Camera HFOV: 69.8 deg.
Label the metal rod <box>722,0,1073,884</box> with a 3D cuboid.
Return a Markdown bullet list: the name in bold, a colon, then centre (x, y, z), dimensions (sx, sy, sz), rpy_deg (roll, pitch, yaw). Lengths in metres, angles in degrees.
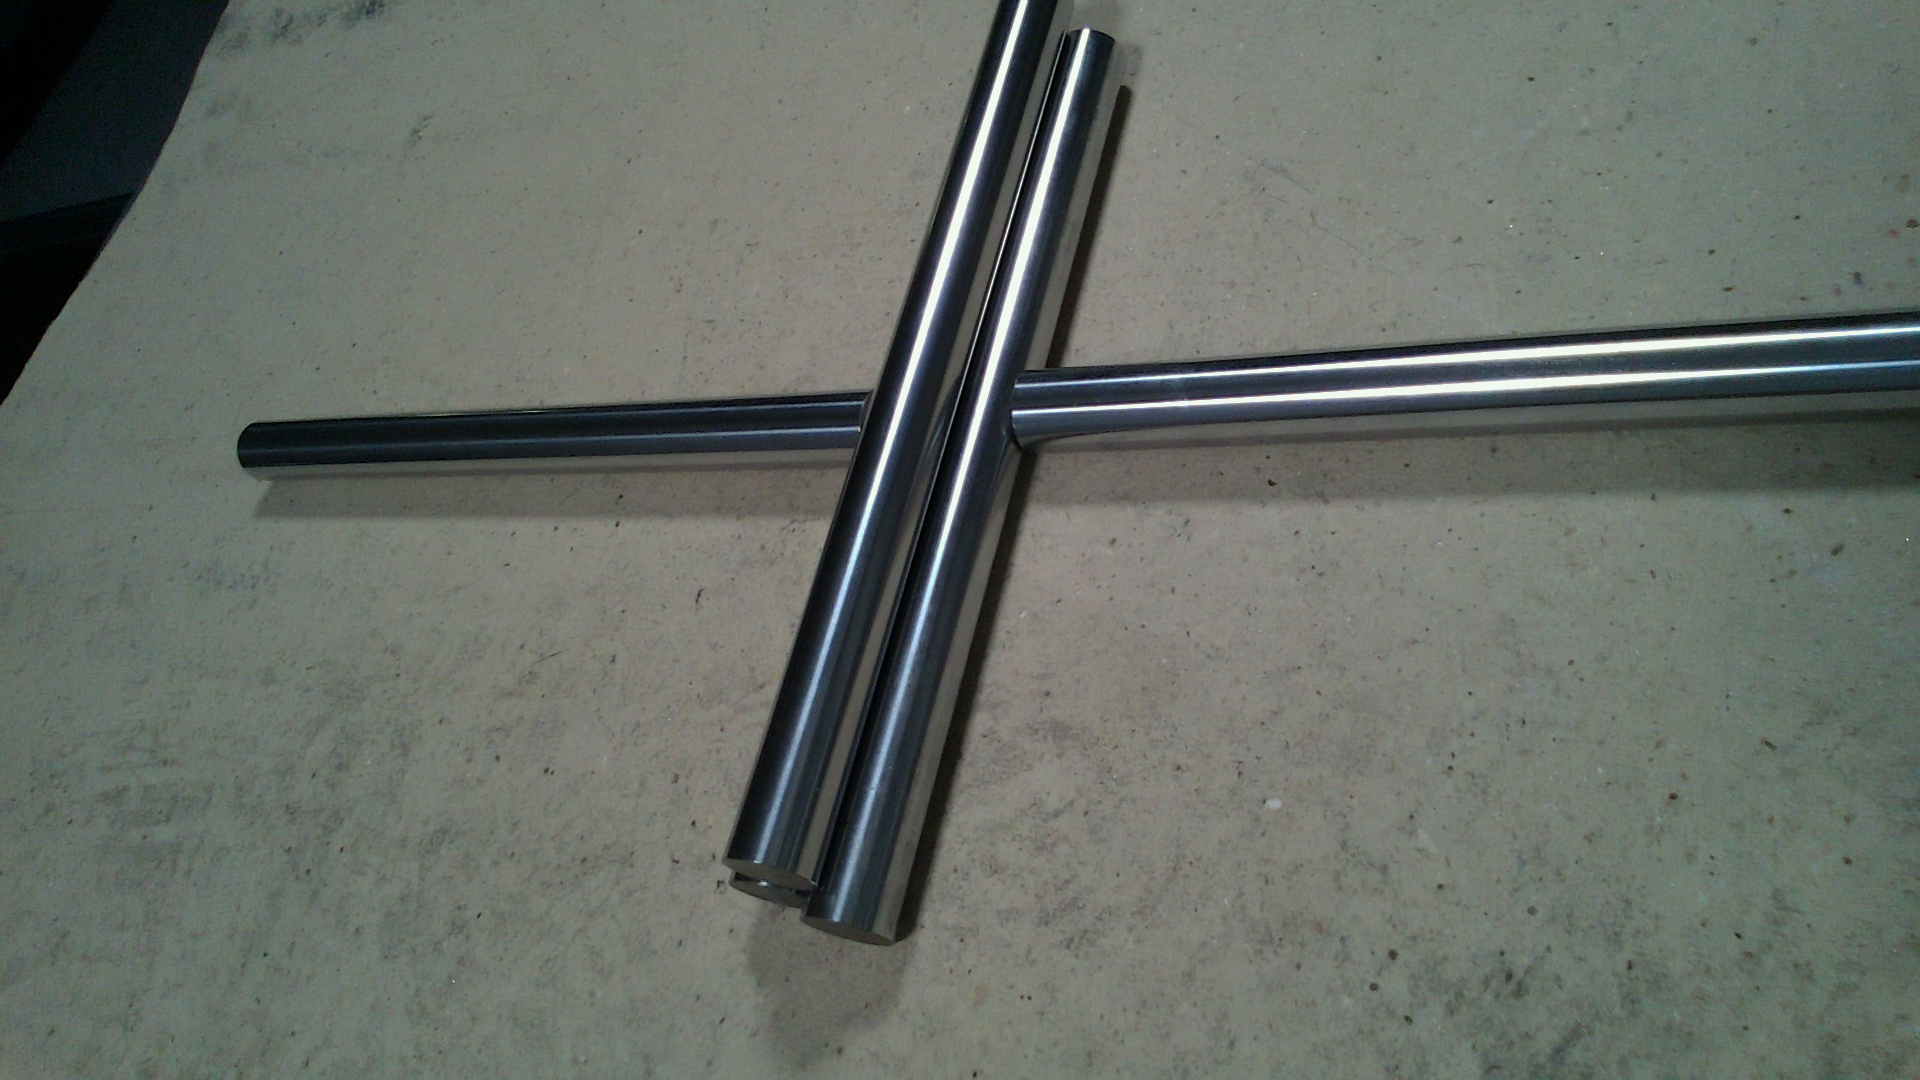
- **metal rod**: centre (-0.011, -0.049, 0.404), dimensions (0.025, 0.025, 0.300), rpy_deg (1, 62, 29)

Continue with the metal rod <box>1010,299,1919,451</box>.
- **metal rod**: centre (0.152, -0.040, 0.336), dimensions (0.299, 0.025, 0.025), rpy_deg (-1, 61, 28)

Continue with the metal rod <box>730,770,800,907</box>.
- **metal rod**: centre (-0.012, -0.038, 0.425), dimensions (0.025, 0.025, 0.300), rpy_deg (1, 62, 29)

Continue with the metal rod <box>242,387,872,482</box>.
- **metal rod**: centre (-0.156, -0.036, 0.500), dimensions (0.299, 0.025, 0.025), rpy_deg (0, 62, 29)

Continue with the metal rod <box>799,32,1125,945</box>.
- **metal rod**: centre (0.008, -0.033, 0.411), dimensions (0.025, 0.025, 0.300), rpy_deg (1, 62, 29)
